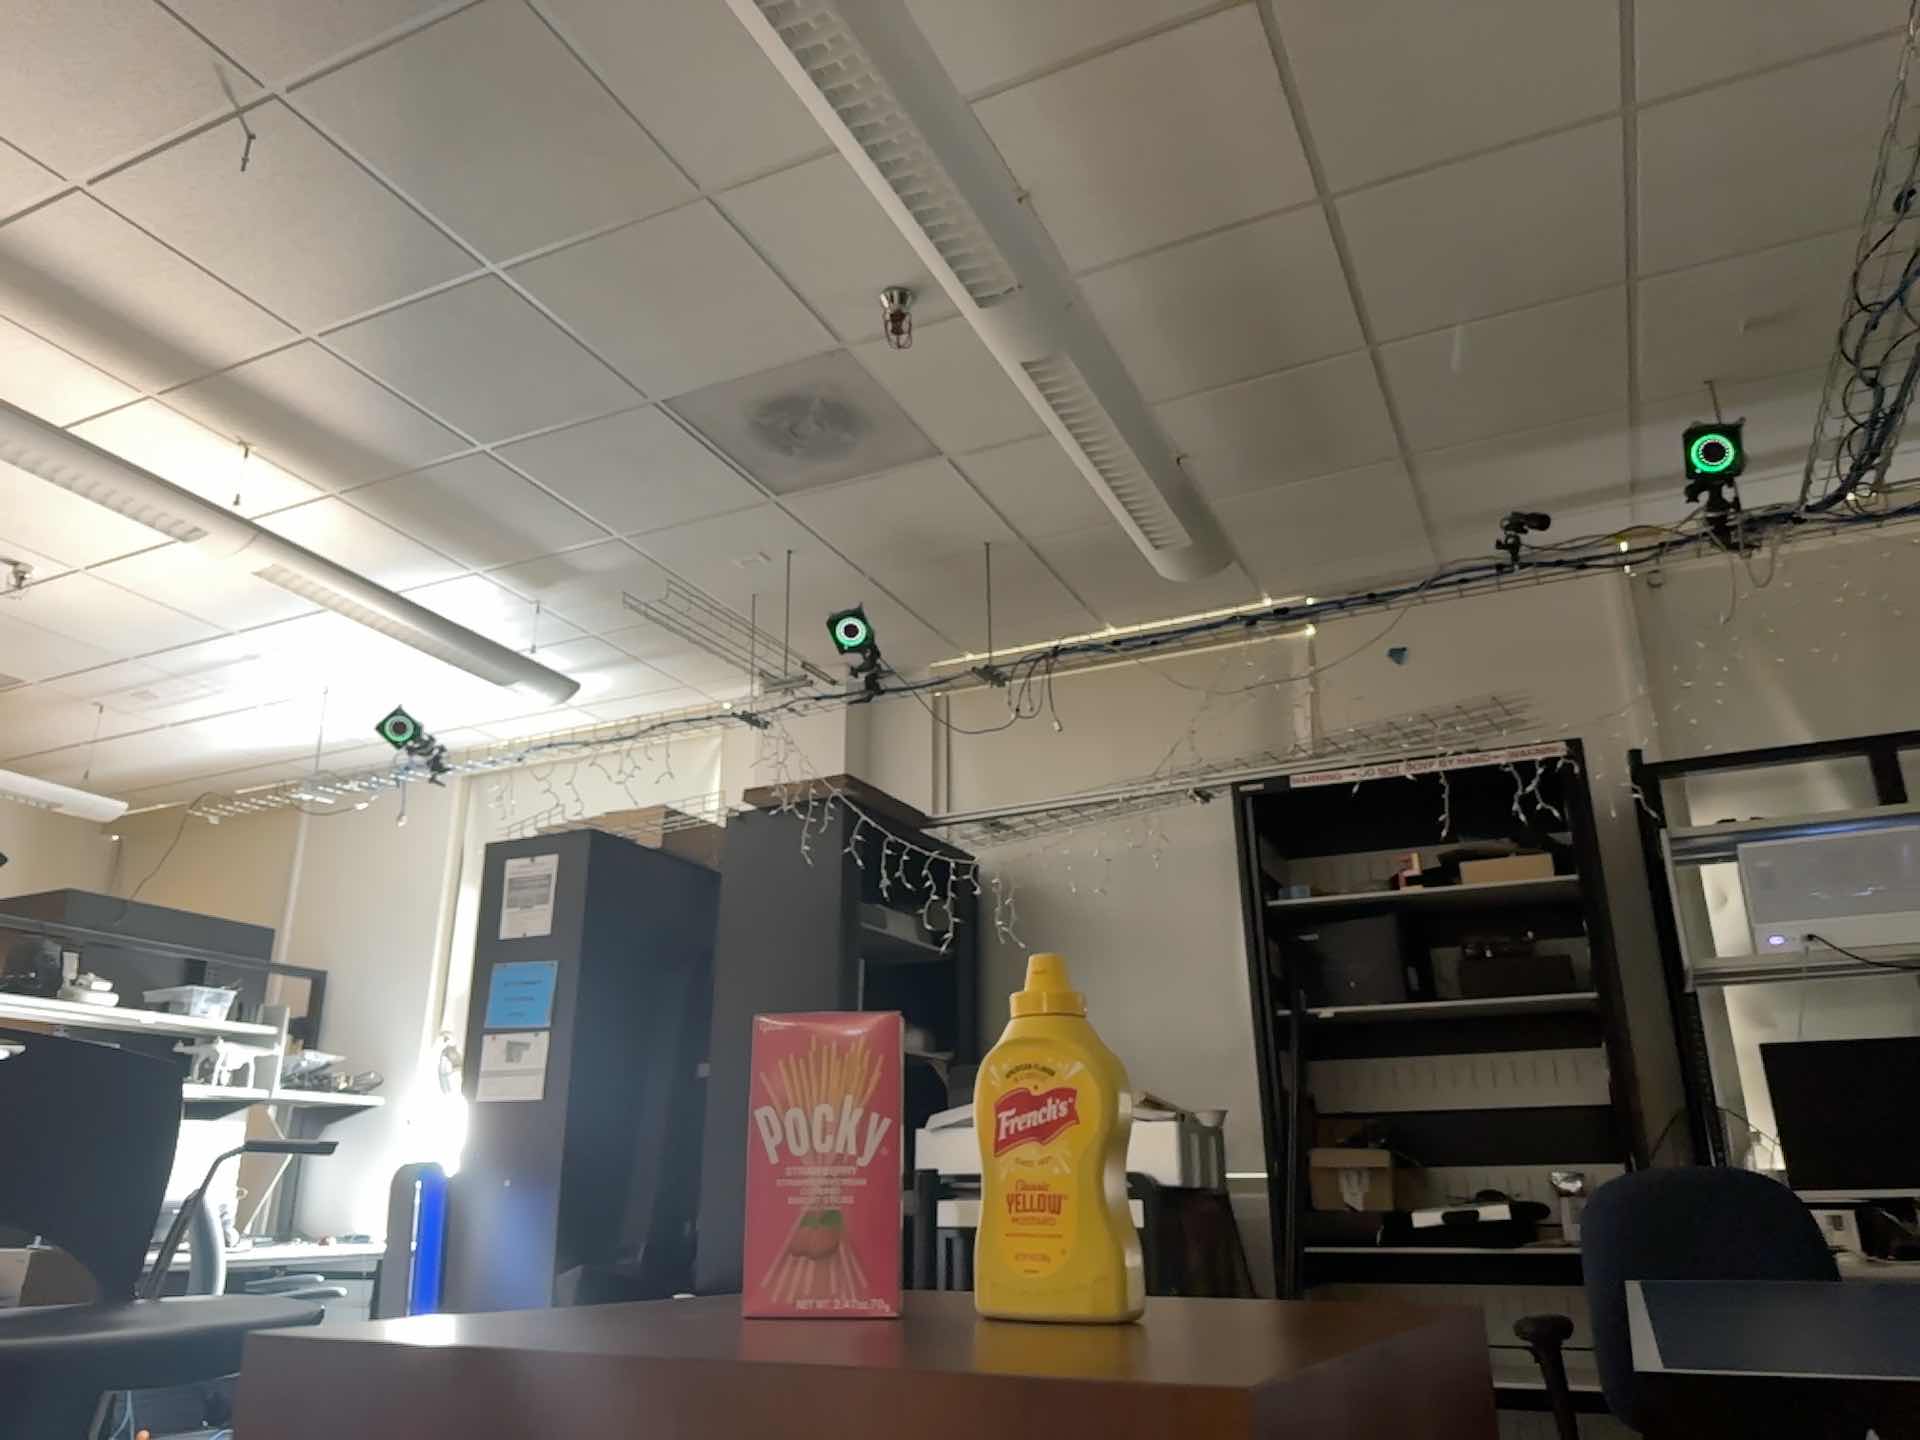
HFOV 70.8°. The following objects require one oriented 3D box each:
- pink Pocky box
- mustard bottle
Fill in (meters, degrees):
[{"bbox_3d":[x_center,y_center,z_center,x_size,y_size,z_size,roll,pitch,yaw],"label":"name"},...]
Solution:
[{"bbox_3d":[-0.070,0.234,0.720,0.084,0.154,0.029,-2,-17,11],"label":"pink Pocky box"},{"bbox_3d":[0.046,0.214,0.704,0.092,0.184,0.054,-11,-17,30],"label":"mustard bottle"}]
